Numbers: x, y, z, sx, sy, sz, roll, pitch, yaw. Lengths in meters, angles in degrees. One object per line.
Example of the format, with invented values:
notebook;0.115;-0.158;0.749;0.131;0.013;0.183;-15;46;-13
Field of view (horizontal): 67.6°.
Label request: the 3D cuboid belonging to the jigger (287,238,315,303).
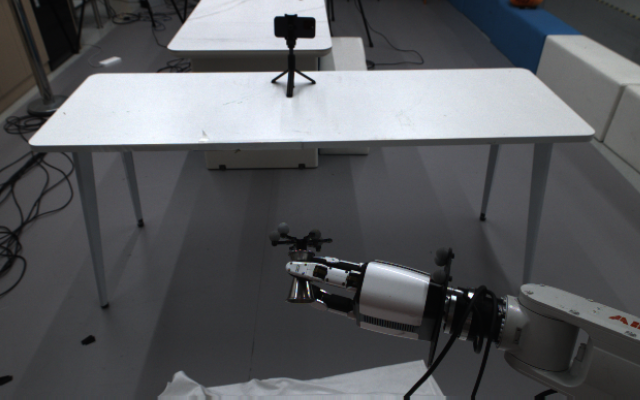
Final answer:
jigger;-0.026;0.107;0.679;0.043;0.043;0.071;1;70;-2
